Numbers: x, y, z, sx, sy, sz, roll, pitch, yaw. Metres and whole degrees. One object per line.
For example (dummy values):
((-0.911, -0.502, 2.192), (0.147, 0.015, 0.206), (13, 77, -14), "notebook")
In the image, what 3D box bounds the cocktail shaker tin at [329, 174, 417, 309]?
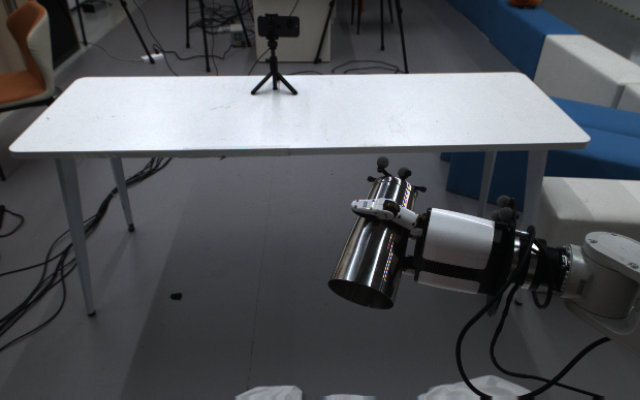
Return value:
((0.082, 0.054, 0.671), (0.093, 0.093, 0.170), (14, 63, 16), "cocktail shaker tin")
